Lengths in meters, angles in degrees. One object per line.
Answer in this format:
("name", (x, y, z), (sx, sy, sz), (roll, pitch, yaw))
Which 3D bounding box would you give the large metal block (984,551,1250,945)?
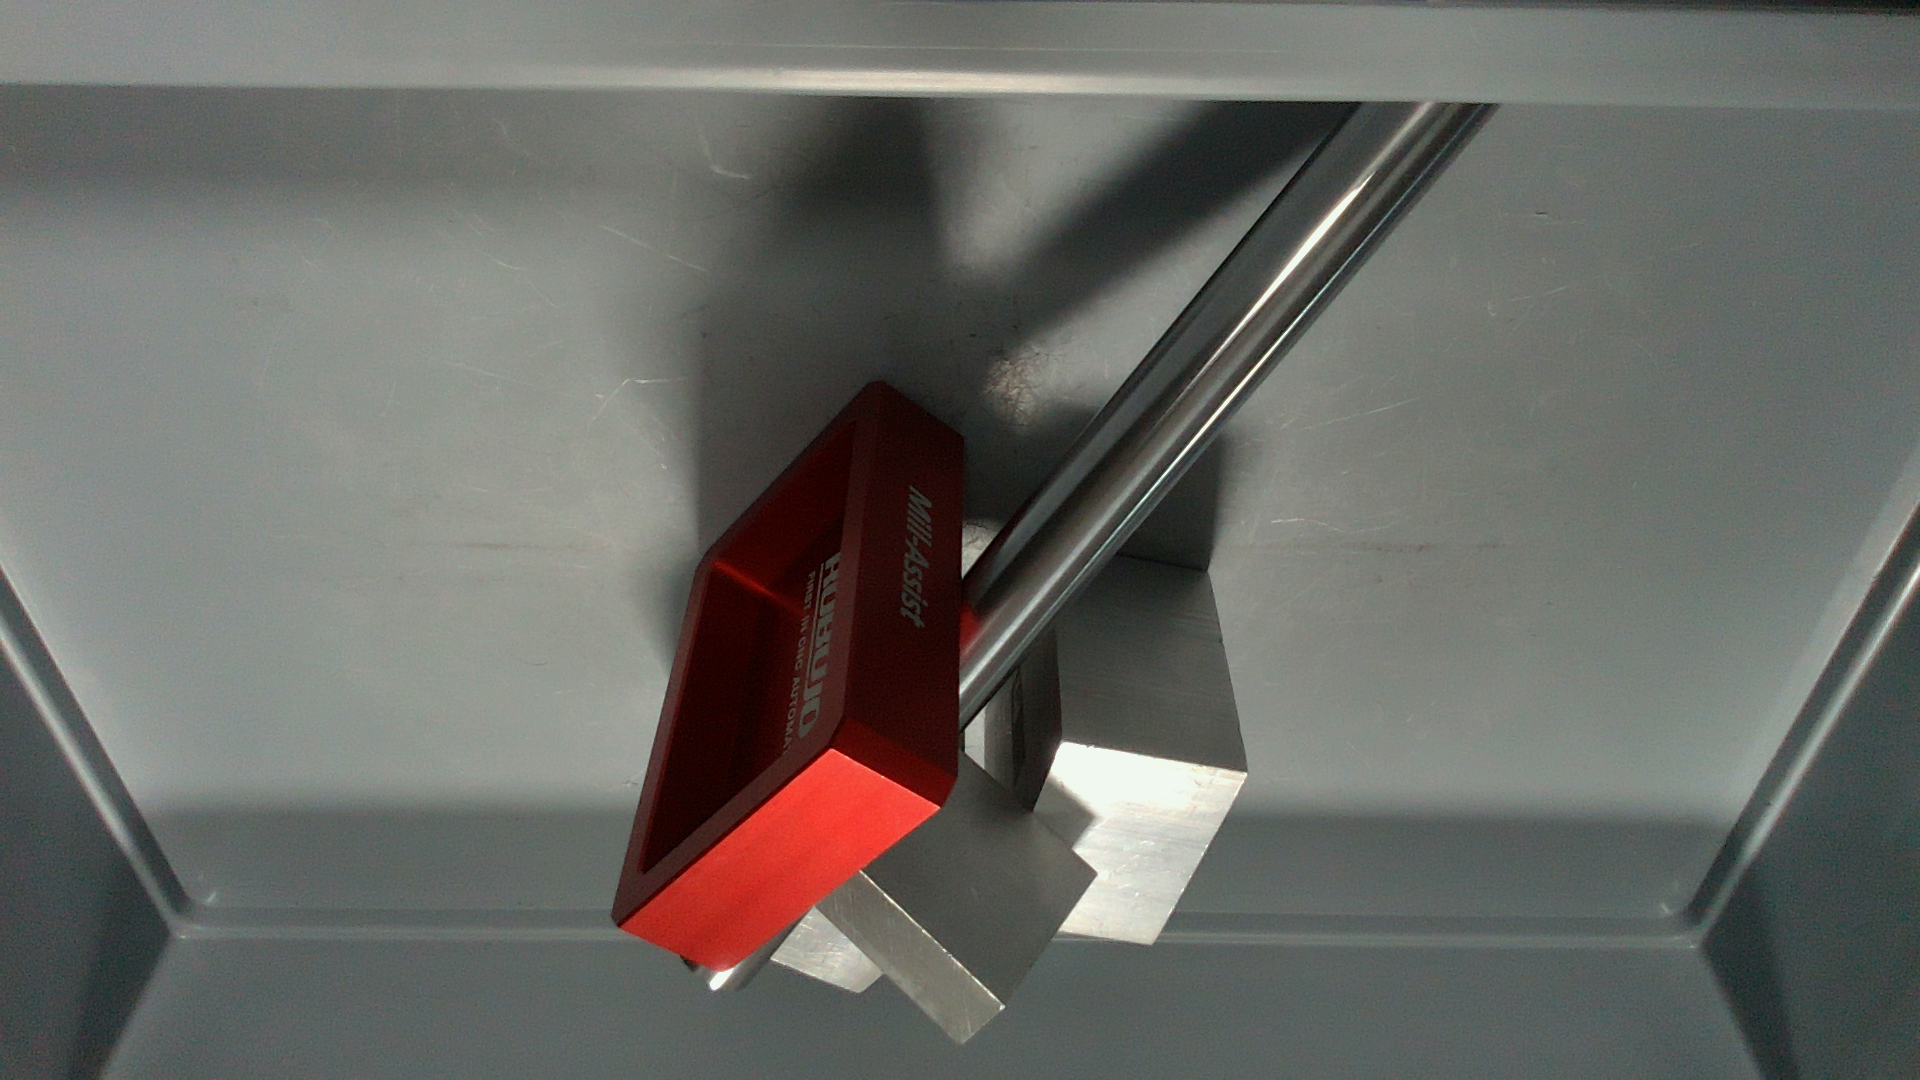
("large metal block", (0.041, 0.059, 0.404), (0.050, 0.080, 0.080), (10, 129, -8))

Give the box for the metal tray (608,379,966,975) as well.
("metal tray", (-0.039, 0.029, 0.345), (0.030, 0.130, 0.090), (33, 124, -24))

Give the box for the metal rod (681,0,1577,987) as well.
("metal rod", (0.027, -0.003, 0.328), (0.025, 0.025, 0.300), (34, 105, -25))

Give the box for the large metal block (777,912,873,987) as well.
("large metal block", (-0.047, 0.076, 0.419), (0.080, 0.080, 0.050), (29, 124, -23))

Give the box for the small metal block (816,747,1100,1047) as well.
("small metal block", (0.000, 0.090, 0.352), (0.050, 0.050, 0.025), (42, 133, 7))
